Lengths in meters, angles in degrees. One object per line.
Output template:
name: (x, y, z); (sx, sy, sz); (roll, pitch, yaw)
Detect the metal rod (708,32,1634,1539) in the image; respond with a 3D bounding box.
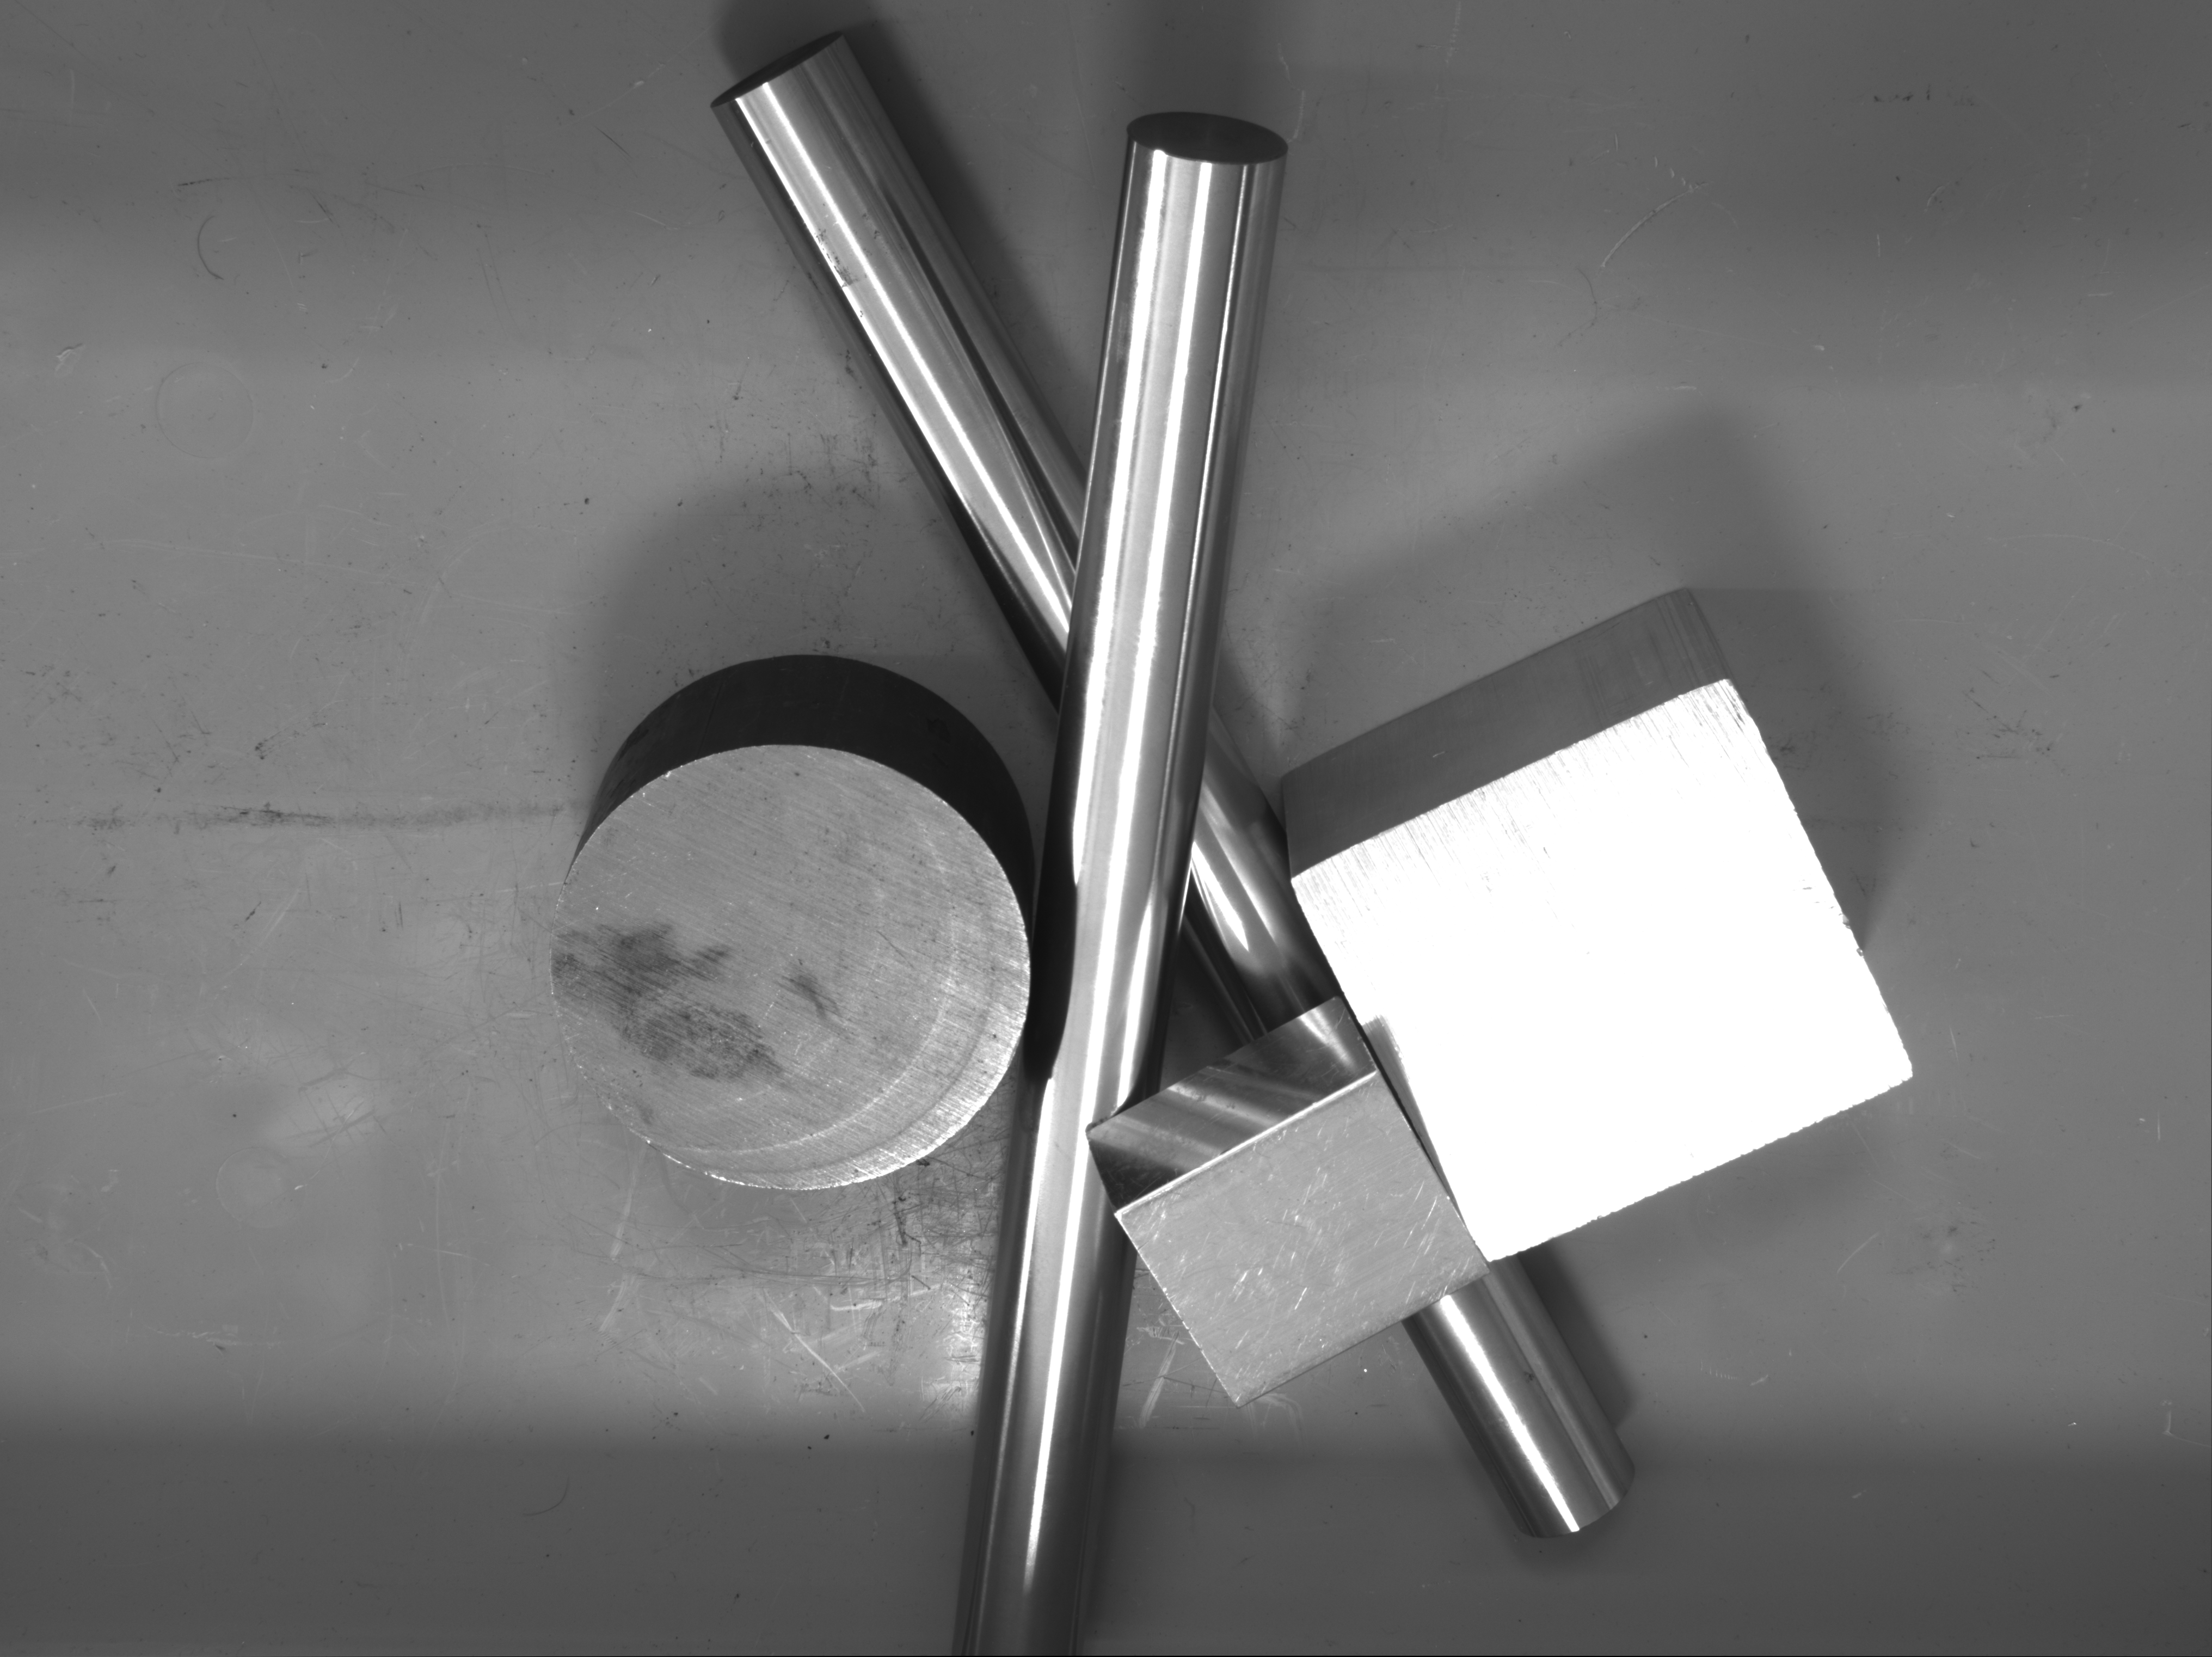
metal rod: (0.017, 0.001, 0.643); (0.025, 0.025, 0.300); (-27, 108, 9)

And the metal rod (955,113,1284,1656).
metal rod: (-0.001, 0.026, 0.631); (0.025, 0.025, 0.300); (6, 118, -2)

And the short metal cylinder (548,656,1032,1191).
short metal cylinder: (-0.053, 0.016, 0.635); (0.080, 0.050, 0.080); (0, 110, 0)

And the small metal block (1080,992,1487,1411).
small metal block: (0.031, 0.064, 0.632); (0.050, 0.025, 0.050); (-29, 122, 2)

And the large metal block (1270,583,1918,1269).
large metal block: (0.083, 0.016, 0.635); (0.080, 0.050, 0.080); (-26, 108, 9)
